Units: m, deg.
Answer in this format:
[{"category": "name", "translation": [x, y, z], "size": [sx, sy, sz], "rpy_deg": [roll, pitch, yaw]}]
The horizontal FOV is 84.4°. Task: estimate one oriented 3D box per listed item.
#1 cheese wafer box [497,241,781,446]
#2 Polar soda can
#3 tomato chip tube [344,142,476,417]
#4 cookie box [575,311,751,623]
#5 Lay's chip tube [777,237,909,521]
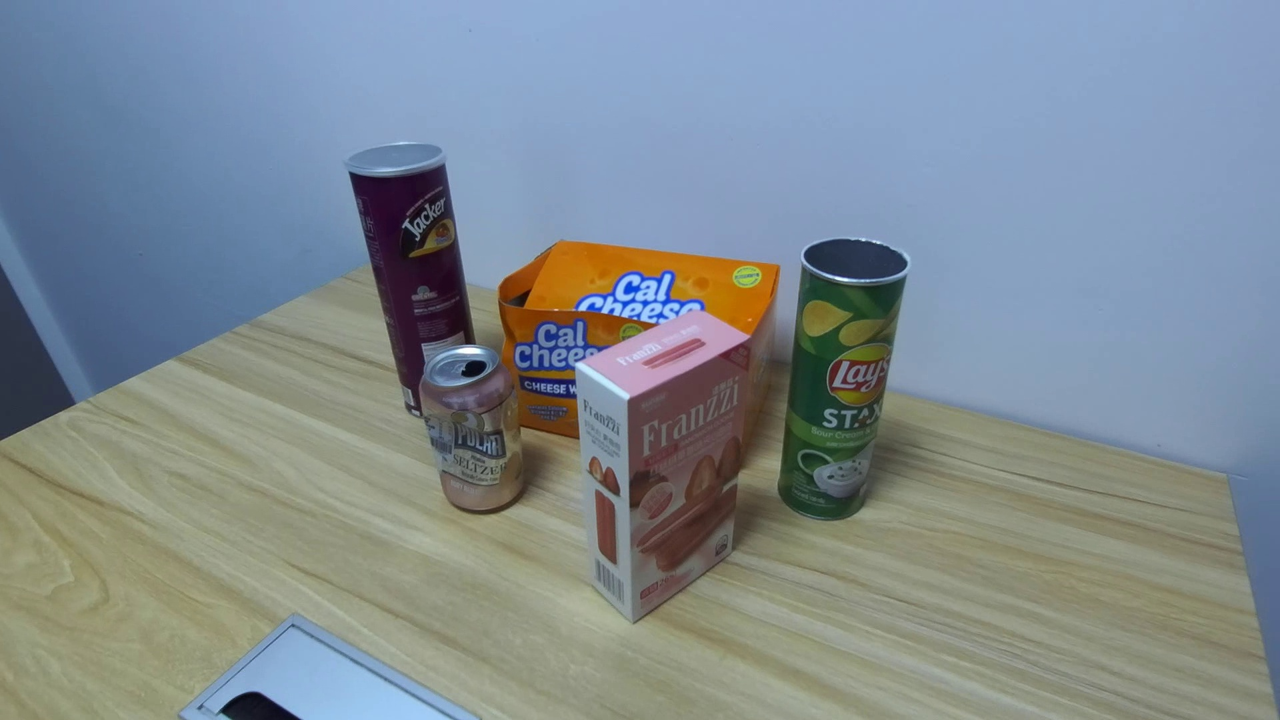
[{"category": "cheese wafer box", "translation": [-0.001, -0.011, 0.634], "size": [0.230, 0.132, 0.152], "rpy_deg": [11, 36, 19]}, {"category": "Polar soda can", "translation": [-0.127, 0.055, 0.544], "size": [0.067, 0.122, 0.074], "rpy_deg": [-16, 33, -20]}, {"category": "tomato chip tube", "translation": [-0.194, -0.063, 0.628], "size": [0.078, 0.234, 0.078], "rpy_deg": [-1, 31, 1]}, {"category": "cookie box", "translation": [0.017, 0.071, 0.449], "size": [0.096, 0.185, 0.048], "rpy_deg": [-25, 40, -32]}, {"category": "Lay's chip tube", "translation": [0.141, 0.018, 0.506], "size": [0.071, 0.203, 0.071], "rpy_deg": [-1, 32, 1]}]
